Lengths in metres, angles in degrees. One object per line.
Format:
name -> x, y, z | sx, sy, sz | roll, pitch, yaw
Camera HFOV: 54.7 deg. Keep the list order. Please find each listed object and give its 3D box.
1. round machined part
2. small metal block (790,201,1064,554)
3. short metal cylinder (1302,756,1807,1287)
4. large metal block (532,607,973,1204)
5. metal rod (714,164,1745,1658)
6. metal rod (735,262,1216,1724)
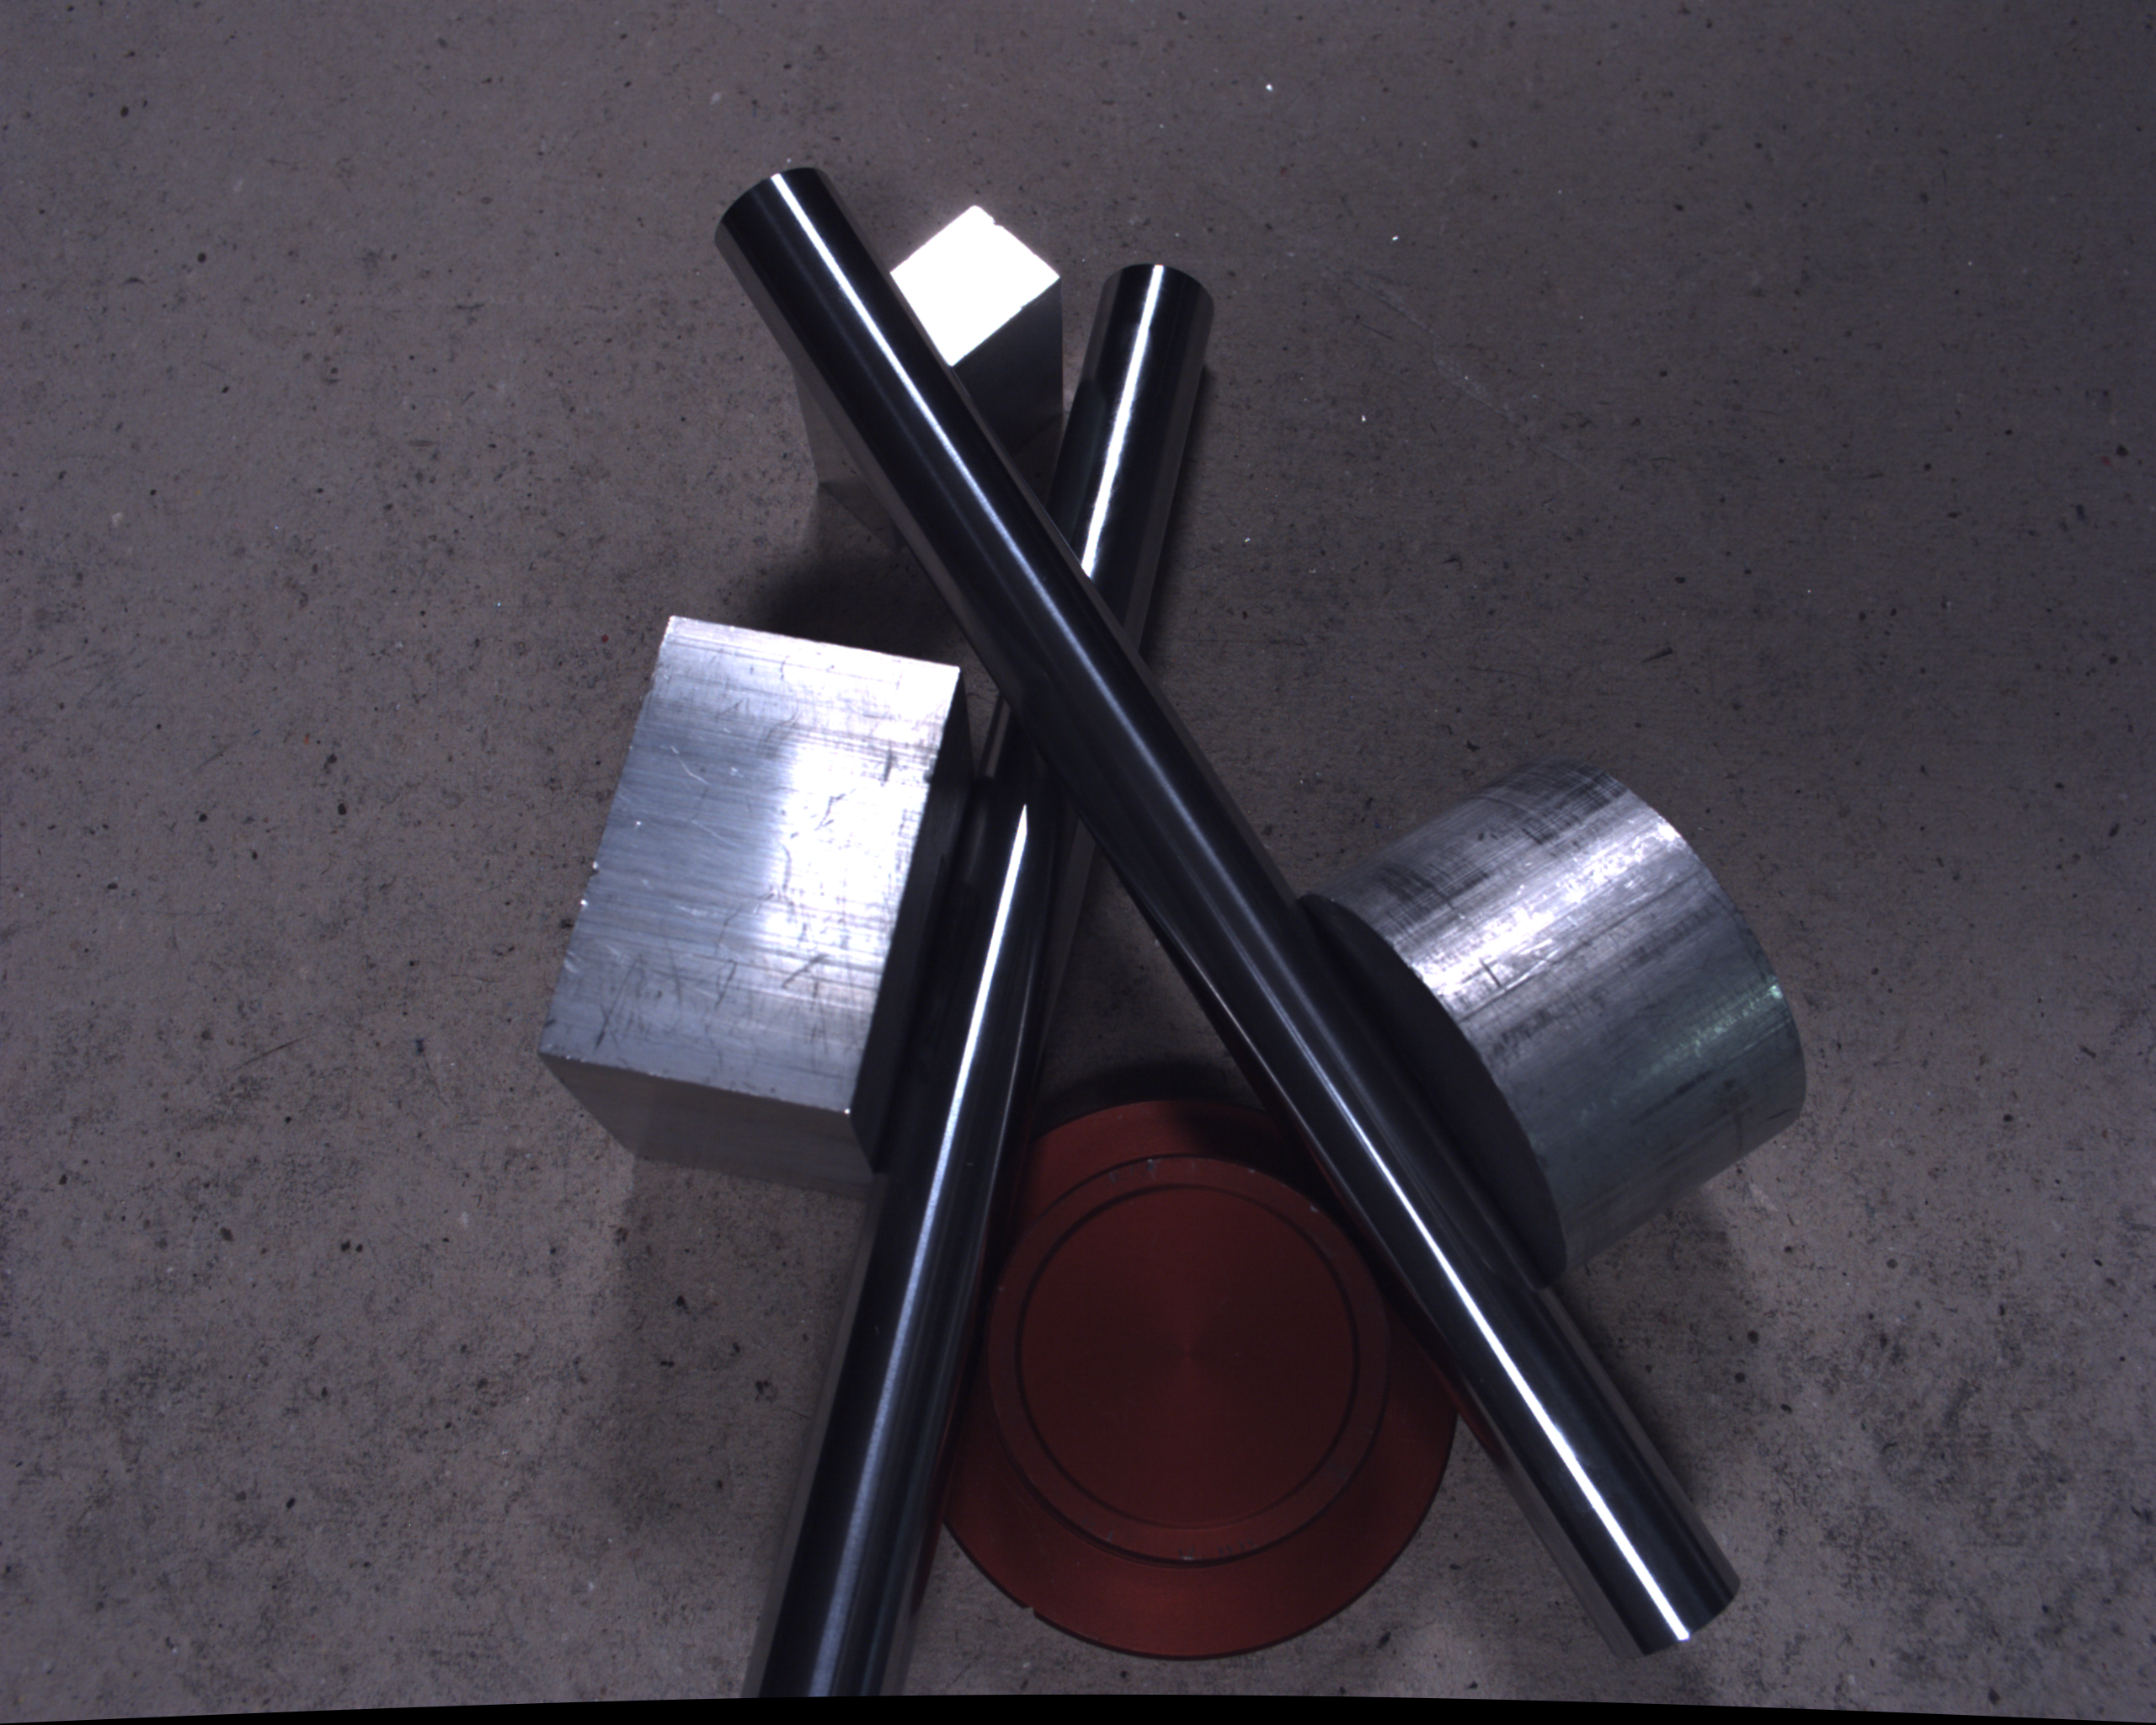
round machined part -> 0.019, 0.090, 0.368 | 0.099, 0.042, 0.098 | 0, 70, -1
small metal block -> -0.030, -0.099, 0.432 | 0.050, 0.050, 0.025 | -43, 76, -14
short metal cylinder -> 0.082, 0.028, 0.371 | 0.050, 0.080, 0.080 | -31, 73, -11
large metal block -> -0.053, 0.011, 0.375 | 0.050, 0.080, 0.080 | 11, 70, 4
metal rod -> 0.022, 0.002, 0.372 | 0.025, 0.025, 0.299 | -31, 82, -11
metal rod -> -0.012, 0.009, 0.390 | 0.025, 0.025, 0.300 | 11, 64, 4
